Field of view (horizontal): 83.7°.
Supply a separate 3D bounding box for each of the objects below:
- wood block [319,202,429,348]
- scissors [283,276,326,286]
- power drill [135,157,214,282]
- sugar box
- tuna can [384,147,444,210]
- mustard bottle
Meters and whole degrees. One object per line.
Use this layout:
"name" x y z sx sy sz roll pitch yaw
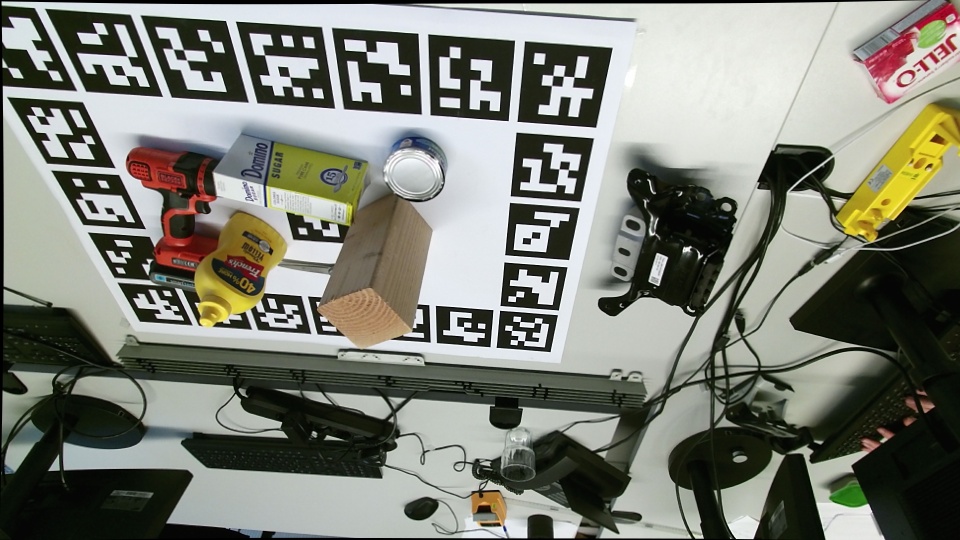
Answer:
"wood block" -0.143 0.001 0.752 0.091 0.205 0.090 -20 124 18
"scissors" -0.223 0.020 0.882 0.203 0.016 0.088 5 133 -1
"power drill" -0.406 -0.066 0.797 0.185 0.057 0.187 14 122 -8
"sugar box" -0.261 -0.114 0.728 0.177 0.092 0.045 14 132 -5
"tuna can" -0.094 -0.125 0.739 0.086 0.033 0.086 2 129 3
"mustard bottle" -0.364 0.013 0.784 0.058 0.190 0.096 -31 120 24
